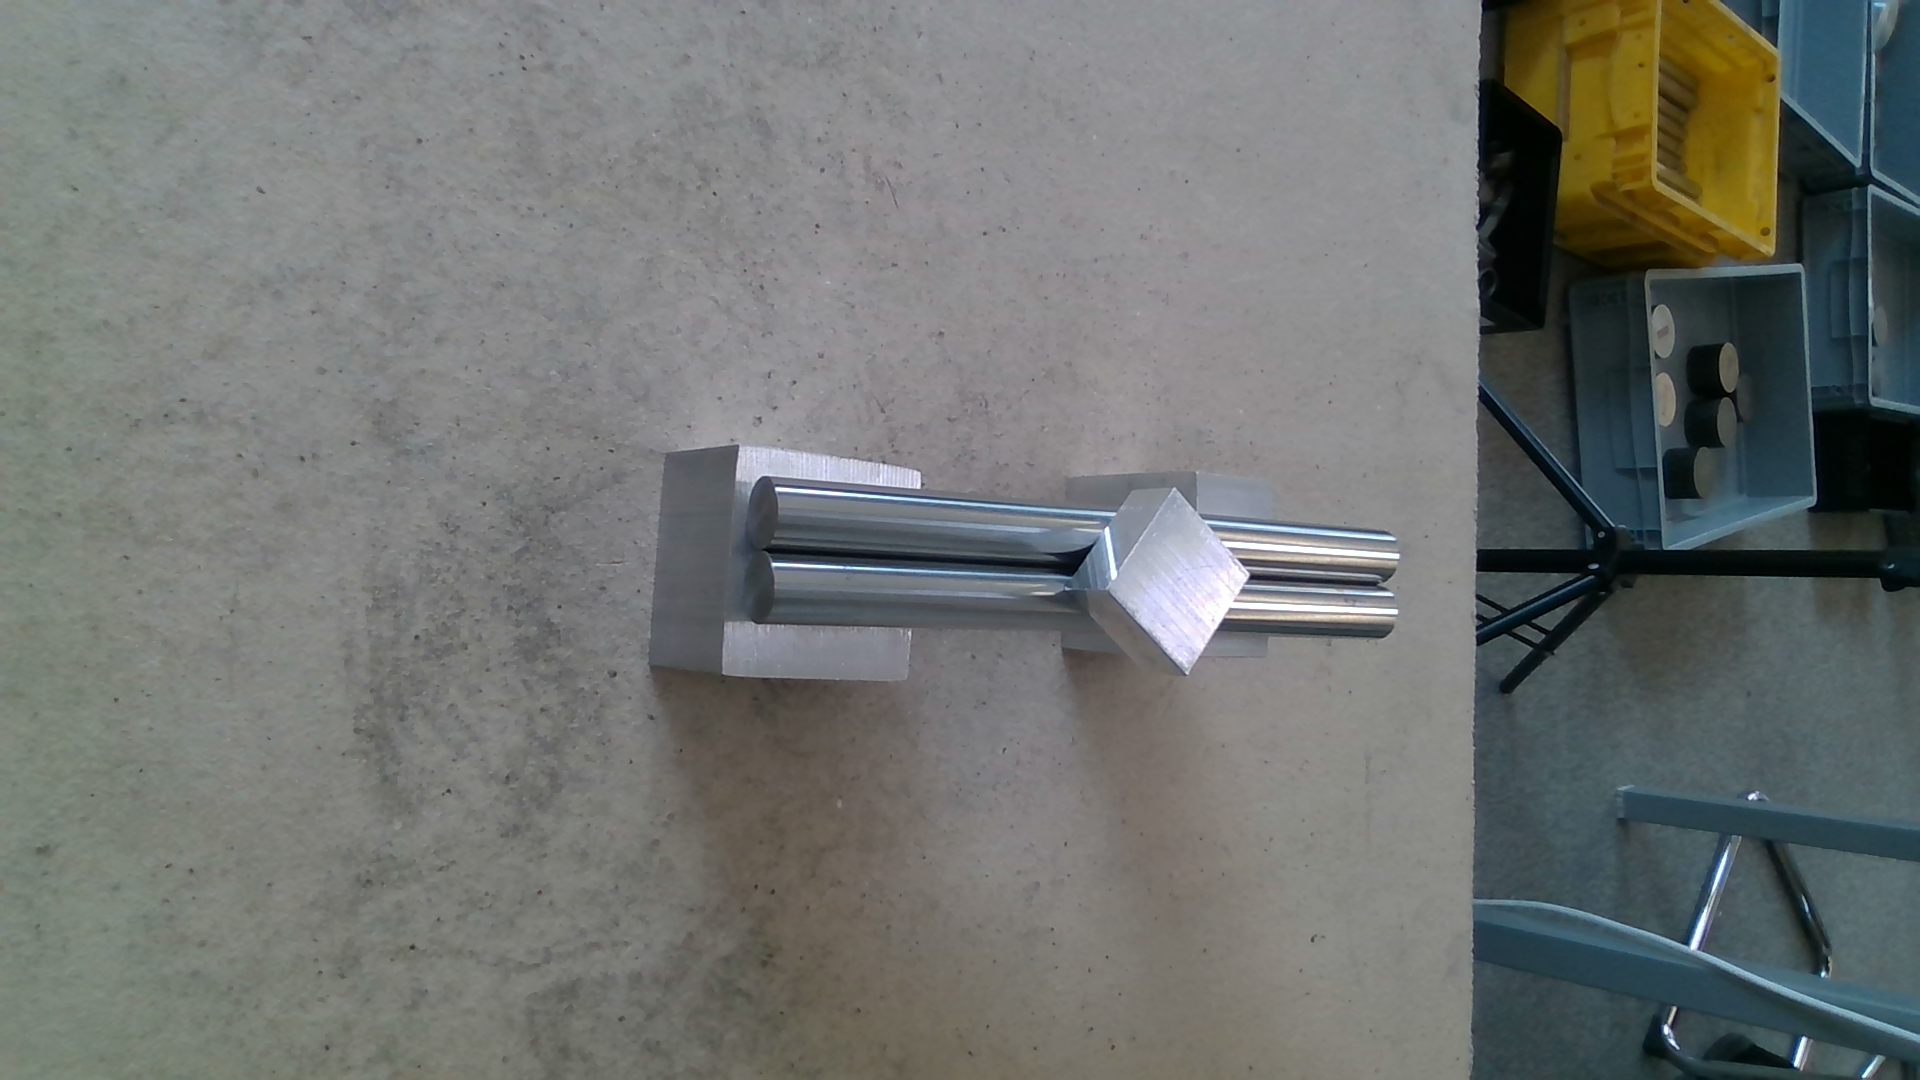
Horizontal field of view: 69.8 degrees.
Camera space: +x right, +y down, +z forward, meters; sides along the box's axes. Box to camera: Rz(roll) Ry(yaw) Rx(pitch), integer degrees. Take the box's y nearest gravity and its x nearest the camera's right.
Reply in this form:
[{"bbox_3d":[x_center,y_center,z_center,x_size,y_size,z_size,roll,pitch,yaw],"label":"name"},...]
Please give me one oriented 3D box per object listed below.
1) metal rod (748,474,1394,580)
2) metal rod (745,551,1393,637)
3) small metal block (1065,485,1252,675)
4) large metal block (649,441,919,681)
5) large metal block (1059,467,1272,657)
[{"bbox_3d":[0.060,-0.001,0.539,0.300,0.025,0.025,4,88,-33],"label":"metal rod"},{"bbox_3d":[0.059,0.024,0.539,0.300,0.025,0.025,4,88,-33],"label":"metal rod"},{"bbox_3d":[0.075,0.015,0.520,0.050,0.025,0.050,46,68,-24],"label":"small metal block"},{"bbox_3d":[-0.065,0.010,0.512,0.080,0.050,0.080,6,86,-40],"label":"large metal block"},{"bbox_3d":[0.092,0.011,0.626,0.050,0.080,0.080,4,87,-40],"label":"large metal block"}]
